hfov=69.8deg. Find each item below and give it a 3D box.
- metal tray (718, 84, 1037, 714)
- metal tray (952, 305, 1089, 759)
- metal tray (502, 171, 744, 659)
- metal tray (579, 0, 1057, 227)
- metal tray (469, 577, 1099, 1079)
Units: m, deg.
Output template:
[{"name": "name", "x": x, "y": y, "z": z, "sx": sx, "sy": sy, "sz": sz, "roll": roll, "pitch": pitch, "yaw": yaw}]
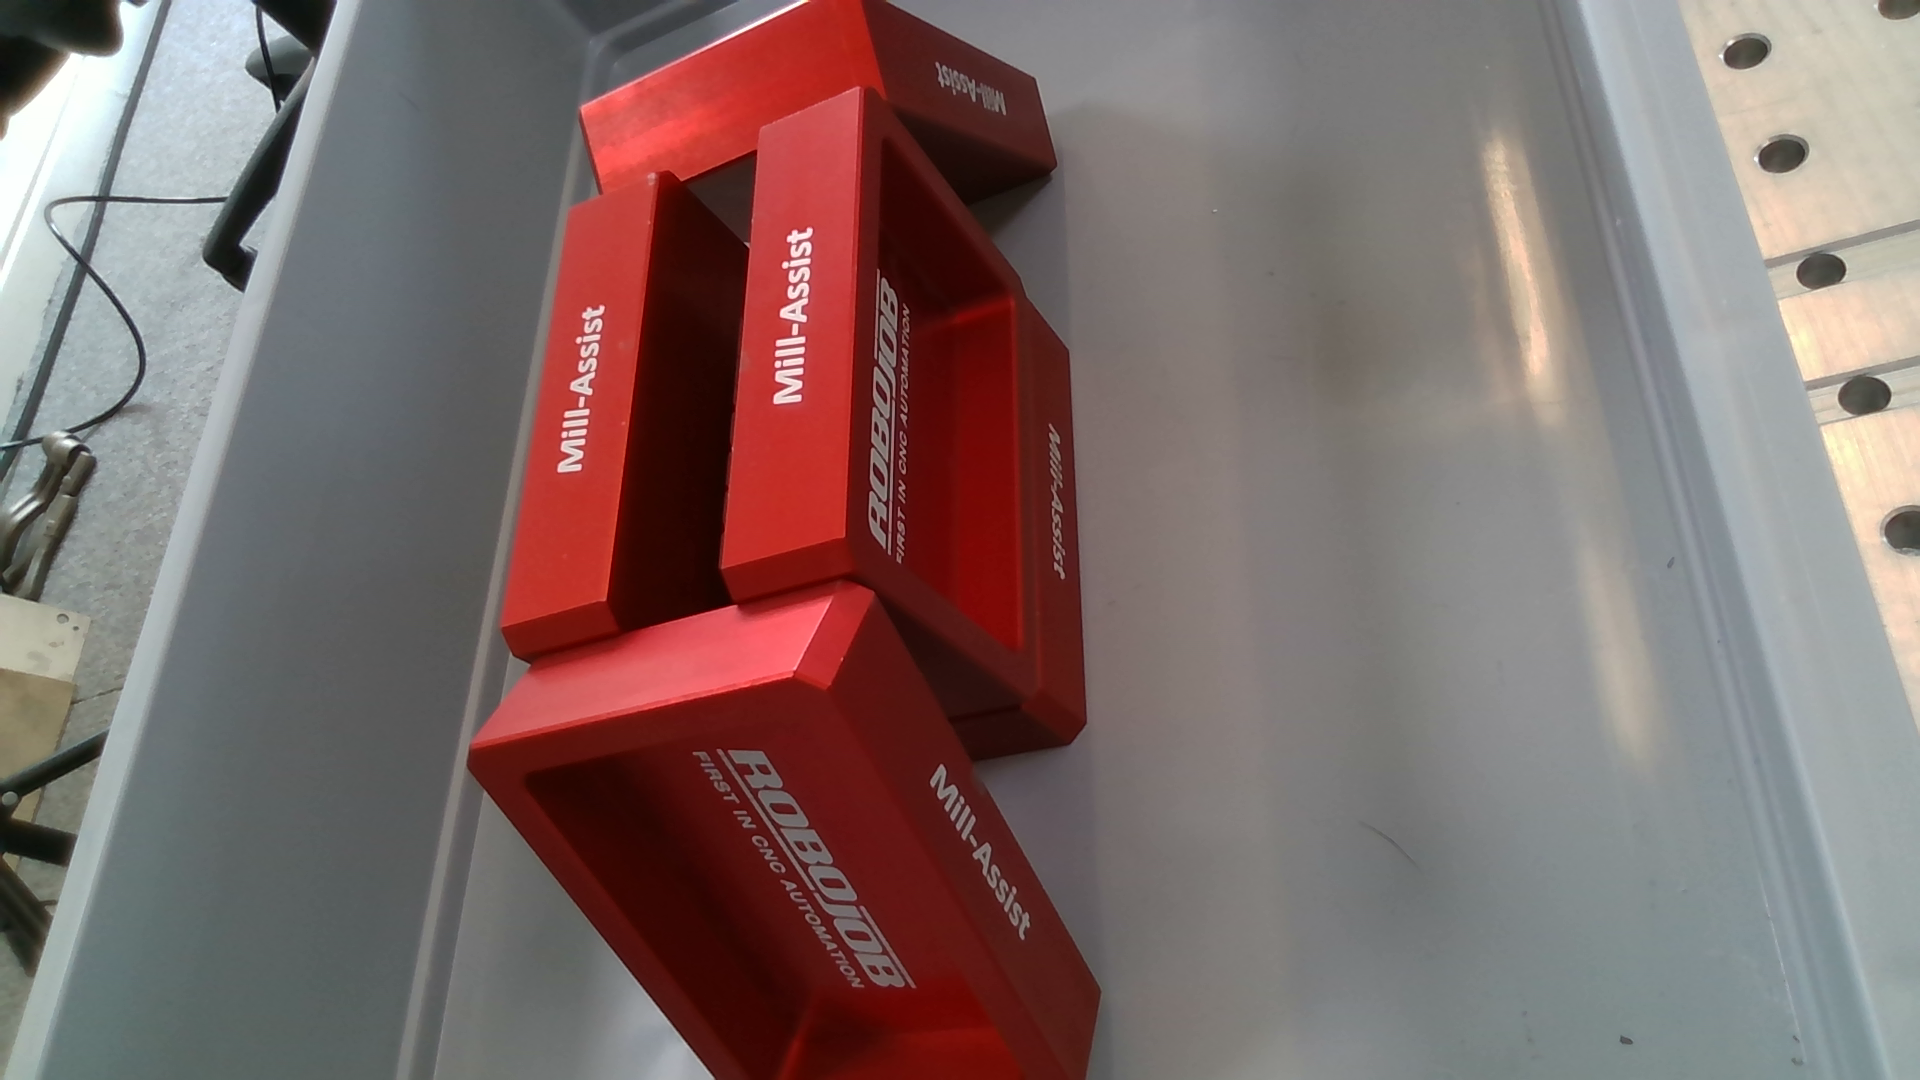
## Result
[{"name": "metal tray", "x": -0.015, "y": -0.032, "z": 0.336, "sx": 0.030, "sy": 0.090, "sz": 0.130, "roll": -14, "pitch": 59, "yaw": 25}, {"name": "metal tray", "x": -0.013, "y": -0.001, "z": 0.397, "sx": 0.090, "sy": 0.030, "sz": 0.130, "roll": -15, "pitch": 59, "yaw": 25}, {"name": "metal tray", "x": -0.069, "y": -0.018, "z": 0.363, "sx": 0.030, "sy": 0.090, "sz": 0.130, "roll": -14, "pitch": 59, "yaw": 24}, {"name": "metal tray", "x": -0.037, "y": -0.119, "z": 0.411, "sx": 0.090, "sy": 0.130, "sz": 0.030, "roll": -14, "pitch": 91, "yaw": 26}, {"name": "metal tray", "x": -0.035, "y": 0.076, "z": 0.307, "sx": 0.090, "sy": 0.130, "sz": 0.030, "roll": -14, "pitch": 29, "yaw": 25}]
